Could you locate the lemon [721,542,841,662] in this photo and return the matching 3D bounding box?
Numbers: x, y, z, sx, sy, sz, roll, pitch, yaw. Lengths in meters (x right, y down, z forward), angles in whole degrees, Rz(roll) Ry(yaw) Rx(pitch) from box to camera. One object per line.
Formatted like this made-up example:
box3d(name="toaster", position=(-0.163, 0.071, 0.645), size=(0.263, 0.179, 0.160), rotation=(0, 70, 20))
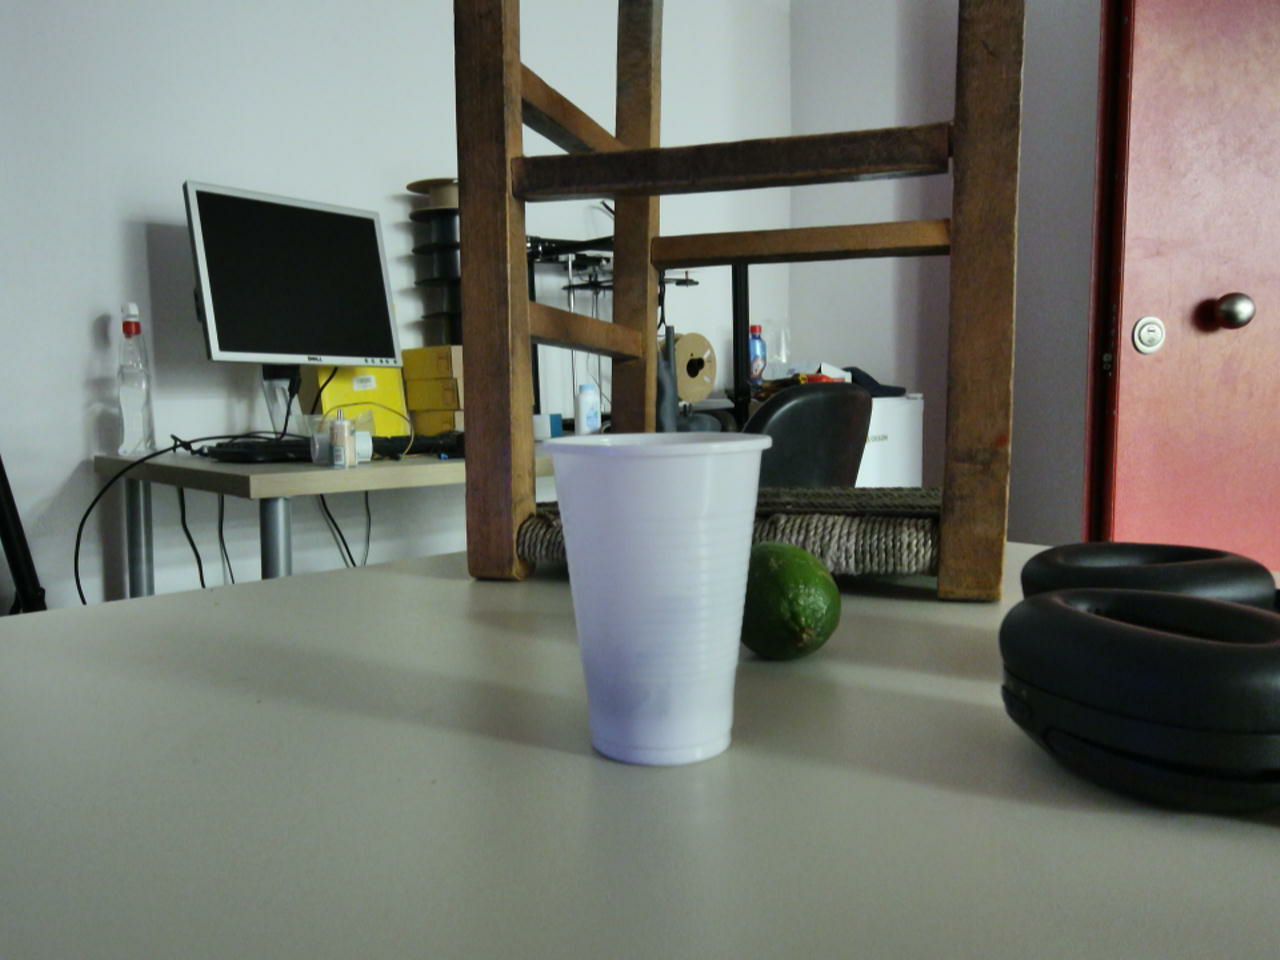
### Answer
box3d(name="lemon", position=(0.065, 0.054, 0.454), size=(0.054, 0.051, 0.057), rotation=(-3, 4, -44))
